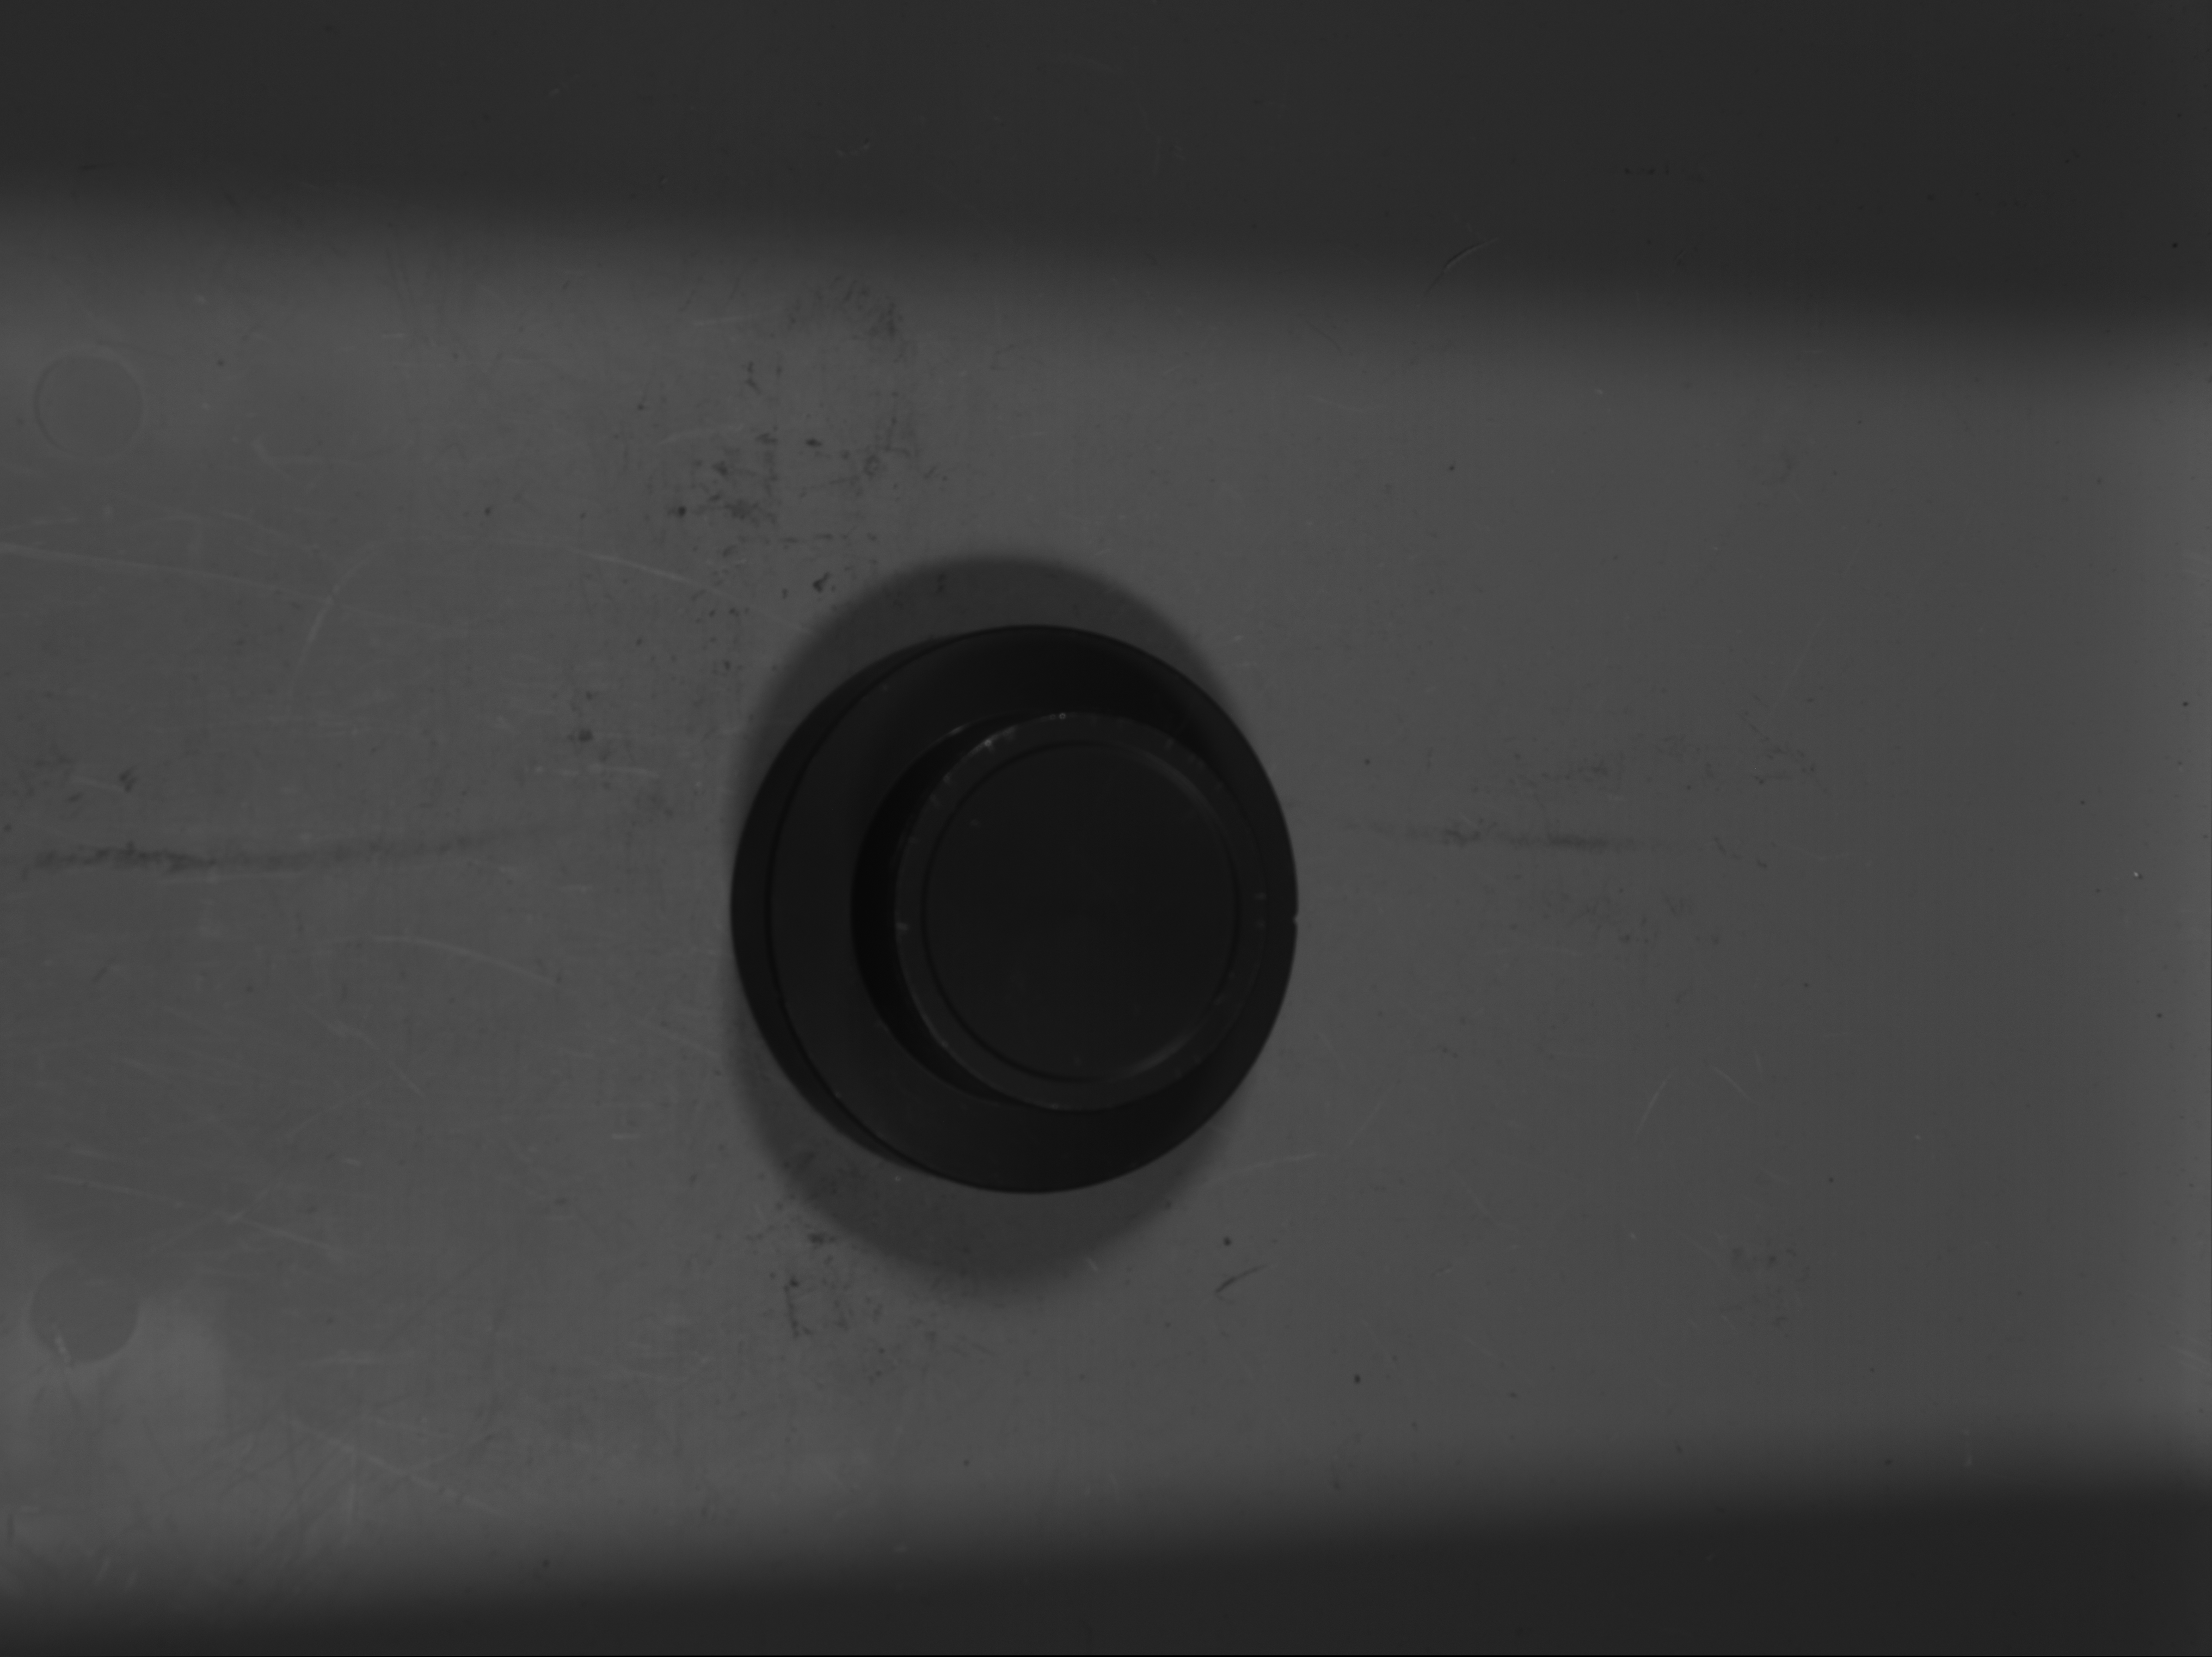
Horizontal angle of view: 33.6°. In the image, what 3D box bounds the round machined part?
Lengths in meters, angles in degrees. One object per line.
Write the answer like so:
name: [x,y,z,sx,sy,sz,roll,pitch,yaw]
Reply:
round machined part: [-0.002,0.014,0.630,0.098,0.042,0.098,0,90,-20]
